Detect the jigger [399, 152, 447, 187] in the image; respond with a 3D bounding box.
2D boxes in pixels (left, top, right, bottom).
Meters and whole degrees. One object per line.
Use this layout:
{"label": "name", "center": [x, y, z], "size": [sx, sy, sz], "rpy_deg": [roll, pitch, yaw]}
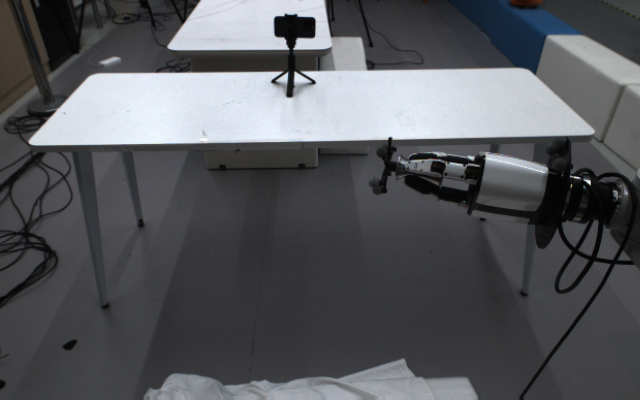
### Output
{"label": "jigger", "center": [0.157, -0.048, 0.729], "size": [0.071, 0.043, 0.043], "rpy_deg": [10, 35, 15]}
